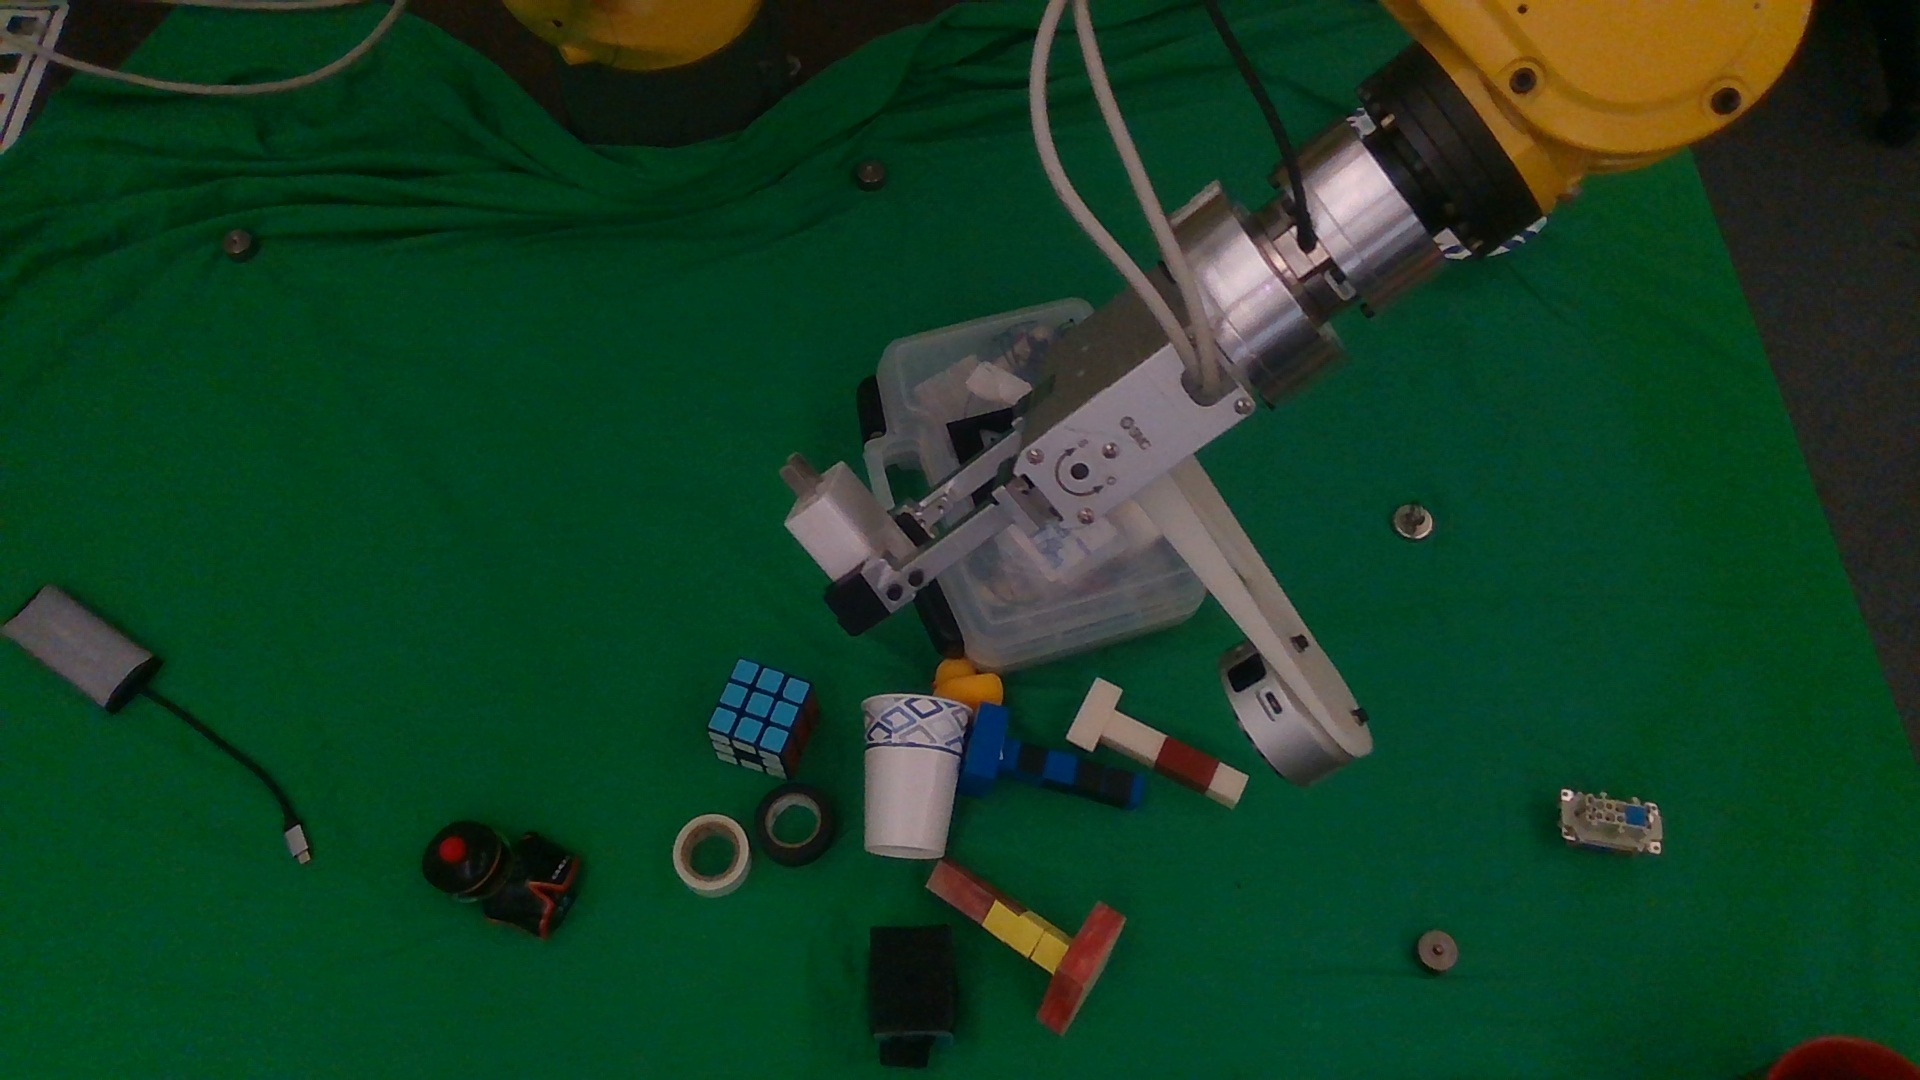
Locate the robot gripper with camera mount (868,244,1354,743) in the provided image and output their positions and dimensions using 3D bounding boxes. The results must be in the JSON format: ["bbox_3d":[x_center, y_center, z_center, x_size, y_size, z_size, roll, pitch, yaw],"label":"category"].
[{"bbox_3d":[0.067,0.016,0.565,0.193,0.159,0.119,45,22,-16],"label":"robot gripper with camera mount"}]

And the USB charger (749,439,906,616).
[{"bbox_3d":[-0.054,-0.009,0.553,0.075,0.029,0.044,46,23,-17],"label":"USB charger"}]
